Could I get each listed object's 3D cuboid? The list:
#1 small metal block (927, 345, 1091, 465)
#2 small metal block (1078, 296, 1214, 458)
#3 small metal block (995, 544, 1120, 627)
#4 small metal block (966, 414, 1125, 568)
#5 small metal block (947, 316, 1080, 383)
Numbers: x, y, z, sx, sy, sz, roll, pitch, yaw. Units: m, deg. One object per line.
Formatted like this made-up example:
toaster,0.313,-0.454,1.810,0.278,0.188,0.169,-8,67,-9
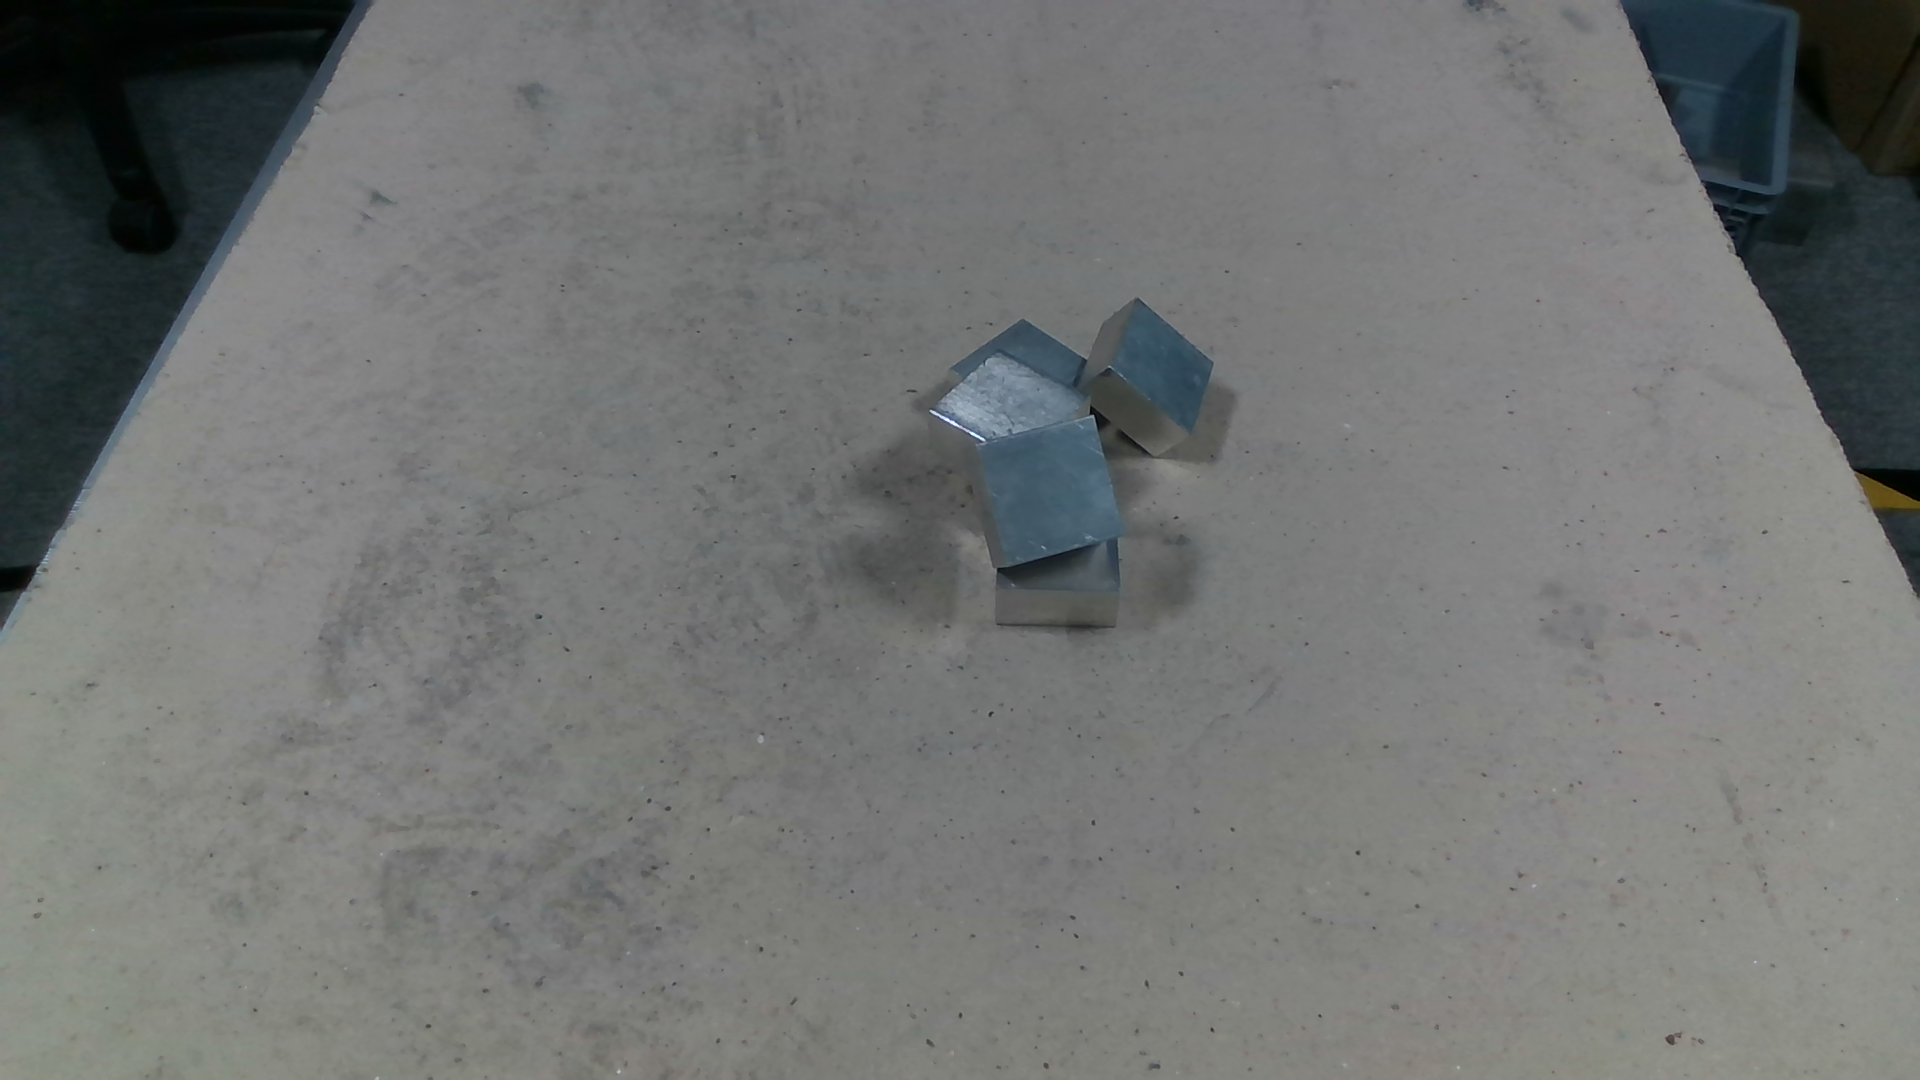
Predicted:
small metal block,0.021,-0.052,0.596,0.050,0.025,0.050,31,57,23
small metal block,0.085,-0.075,0.635,0.050,0.025,0.050,37,51,-17
small metal block,0.040,0.009,0.580,0.050,0.025,0.050,1,50,1
small metal block,0.033,-0.019,0.554,0.050,0.025,0.050,-15,91,-12
small metal block,0.029,-0.072,0.647,0.050,0.025,0.050,-37,59,-27
